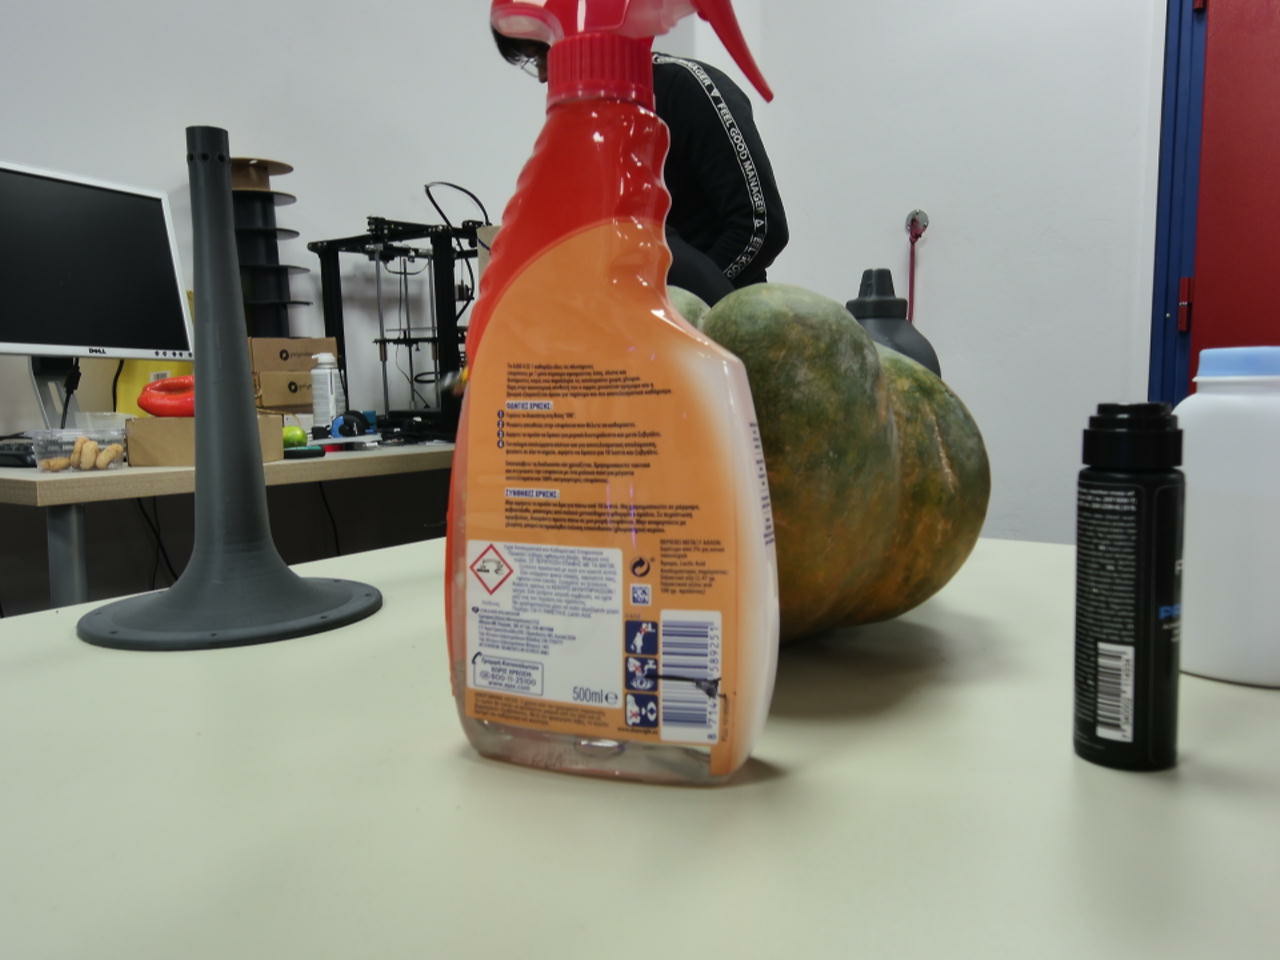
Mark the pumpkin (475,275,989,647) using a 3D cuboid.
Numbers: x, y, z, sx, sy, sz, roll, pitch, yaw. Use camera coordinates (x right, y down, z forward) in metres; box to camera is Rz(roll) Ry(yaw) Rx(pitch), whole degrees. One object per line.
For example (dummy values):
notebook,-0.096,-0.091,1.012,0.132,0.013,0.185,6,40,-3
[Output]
pumpkin,0.040,-0.012,0.492,0.237,0.173,0.270,-1,3,-15
